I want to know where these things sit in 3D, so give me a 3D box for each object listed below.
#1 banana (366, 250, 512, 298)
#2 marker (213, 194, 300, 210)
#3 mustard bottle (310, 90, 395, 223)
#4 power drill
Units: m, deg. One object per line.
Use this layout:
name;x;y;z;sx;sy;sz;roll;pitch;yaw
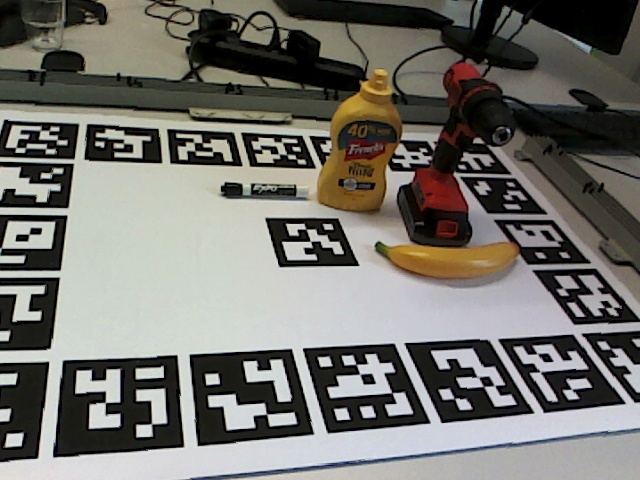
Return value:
banana;0.161;0.045;0.800;0.197;0.039;0.074;4;40;-9
marker;-0.089;-0.053;0.863;0.120;0.019;0.020;1;40;-15
mustard bottle;0.050;-0.113;0.838;0.096;0.191;0.058;8;38;-9
power drill;0.168;-0.085;0.809;0.057;0.187;0.185;10;35;-7
